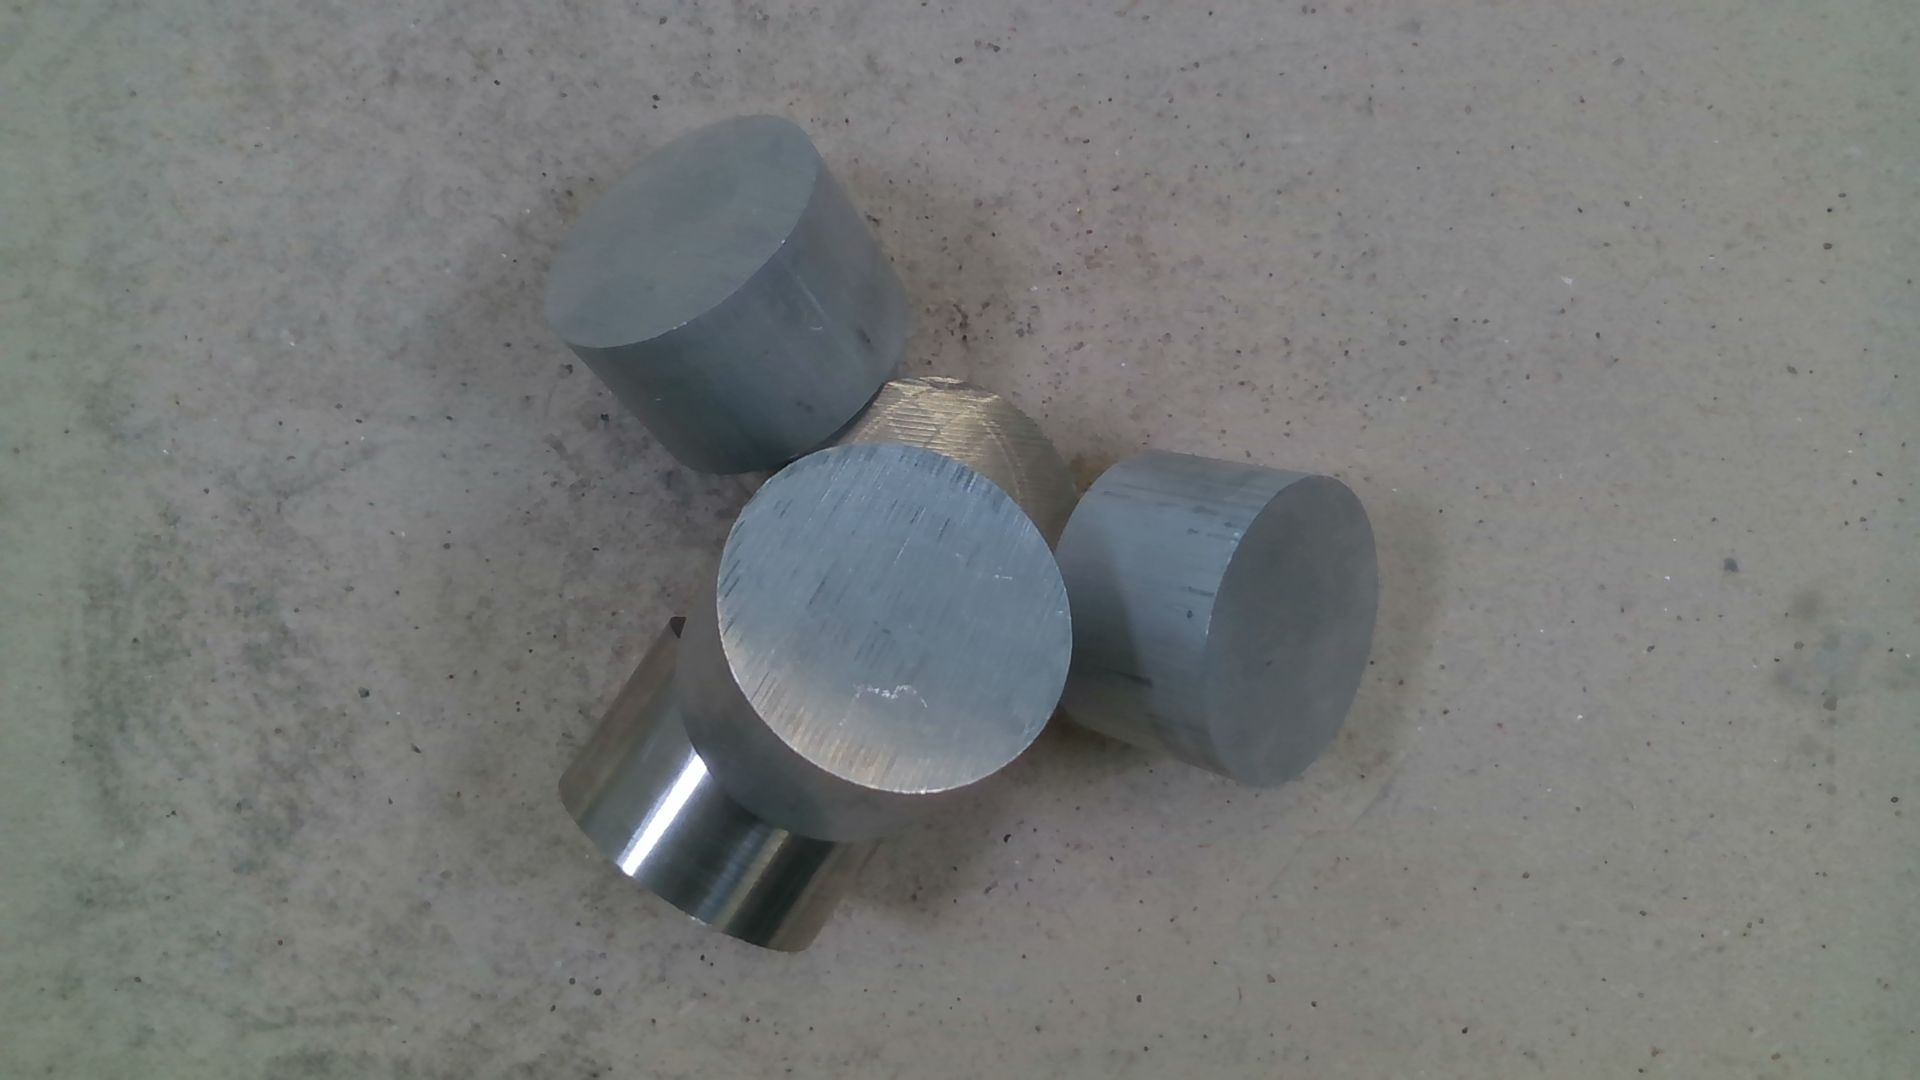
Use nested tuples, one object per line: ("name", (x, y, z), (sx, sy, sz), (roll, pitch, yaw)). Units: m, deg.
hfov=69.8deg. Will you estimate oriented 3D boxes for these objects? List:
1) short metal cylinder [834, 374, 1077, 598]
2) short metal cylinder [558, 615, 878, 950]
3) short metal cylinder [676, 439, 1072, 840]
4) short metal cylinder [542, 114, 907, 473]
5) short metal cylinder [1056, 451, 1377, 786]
("short metal cylinder", (-0.009, -0.003, 0.383), (0.080, 0.050, 0.080), (0, 90, -1))
("short metal cylinder", (-0.058, 0.064, 0.368), (0.080, 0.080, 0.050), (34, 90, 0))
("short metal cylinder", (-0.021, 0.024, 0.316), (0.080, 0.050, 0.080), (9, 65, -18))
("short metal cylinder", (-0.061, -0.065, 0.362), (0.080, 0.050, 0.080), (-16, 49, 19))
("short metal cylinder", (0.067, 0.019, 0.362), (0.050, 0.080, 0.080), (14, 90, 43))
